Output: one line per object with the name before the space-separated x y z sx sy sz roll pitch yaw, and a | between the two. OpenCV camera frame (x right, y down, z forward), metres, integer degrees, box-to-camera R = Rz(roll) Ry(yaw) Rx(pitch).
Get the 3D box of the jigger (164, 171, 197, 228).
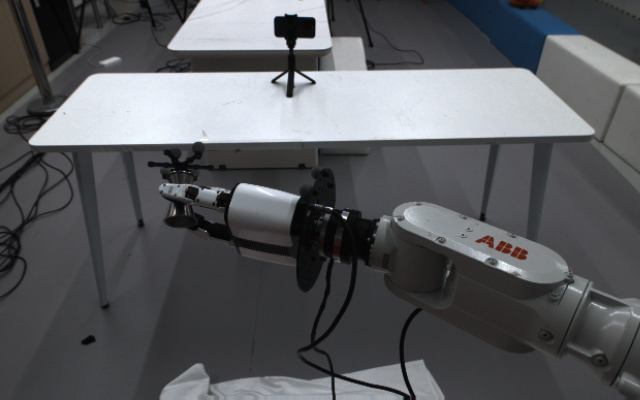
jigger | -0.189 0.000 0.659 0.043 0.043 0.071 -4 67 -8
